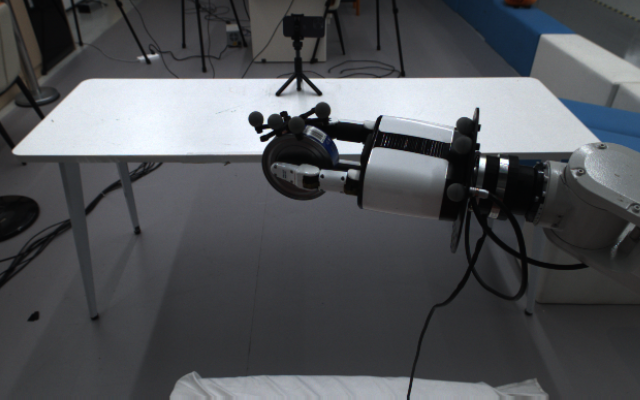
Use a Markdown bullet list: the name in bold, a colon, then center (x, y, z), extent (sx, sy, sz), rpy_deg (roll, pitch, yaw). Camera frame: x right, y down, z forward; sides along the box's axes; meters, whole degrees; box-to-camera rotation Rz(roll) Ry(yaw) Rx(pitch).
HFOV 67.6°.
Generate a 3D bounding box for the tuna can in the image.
- **tuna can**: center (-0.019, -0.040, 0.559), extent (0.085, 0.085, 0.034), rpy_deg (10, 33, 11)
